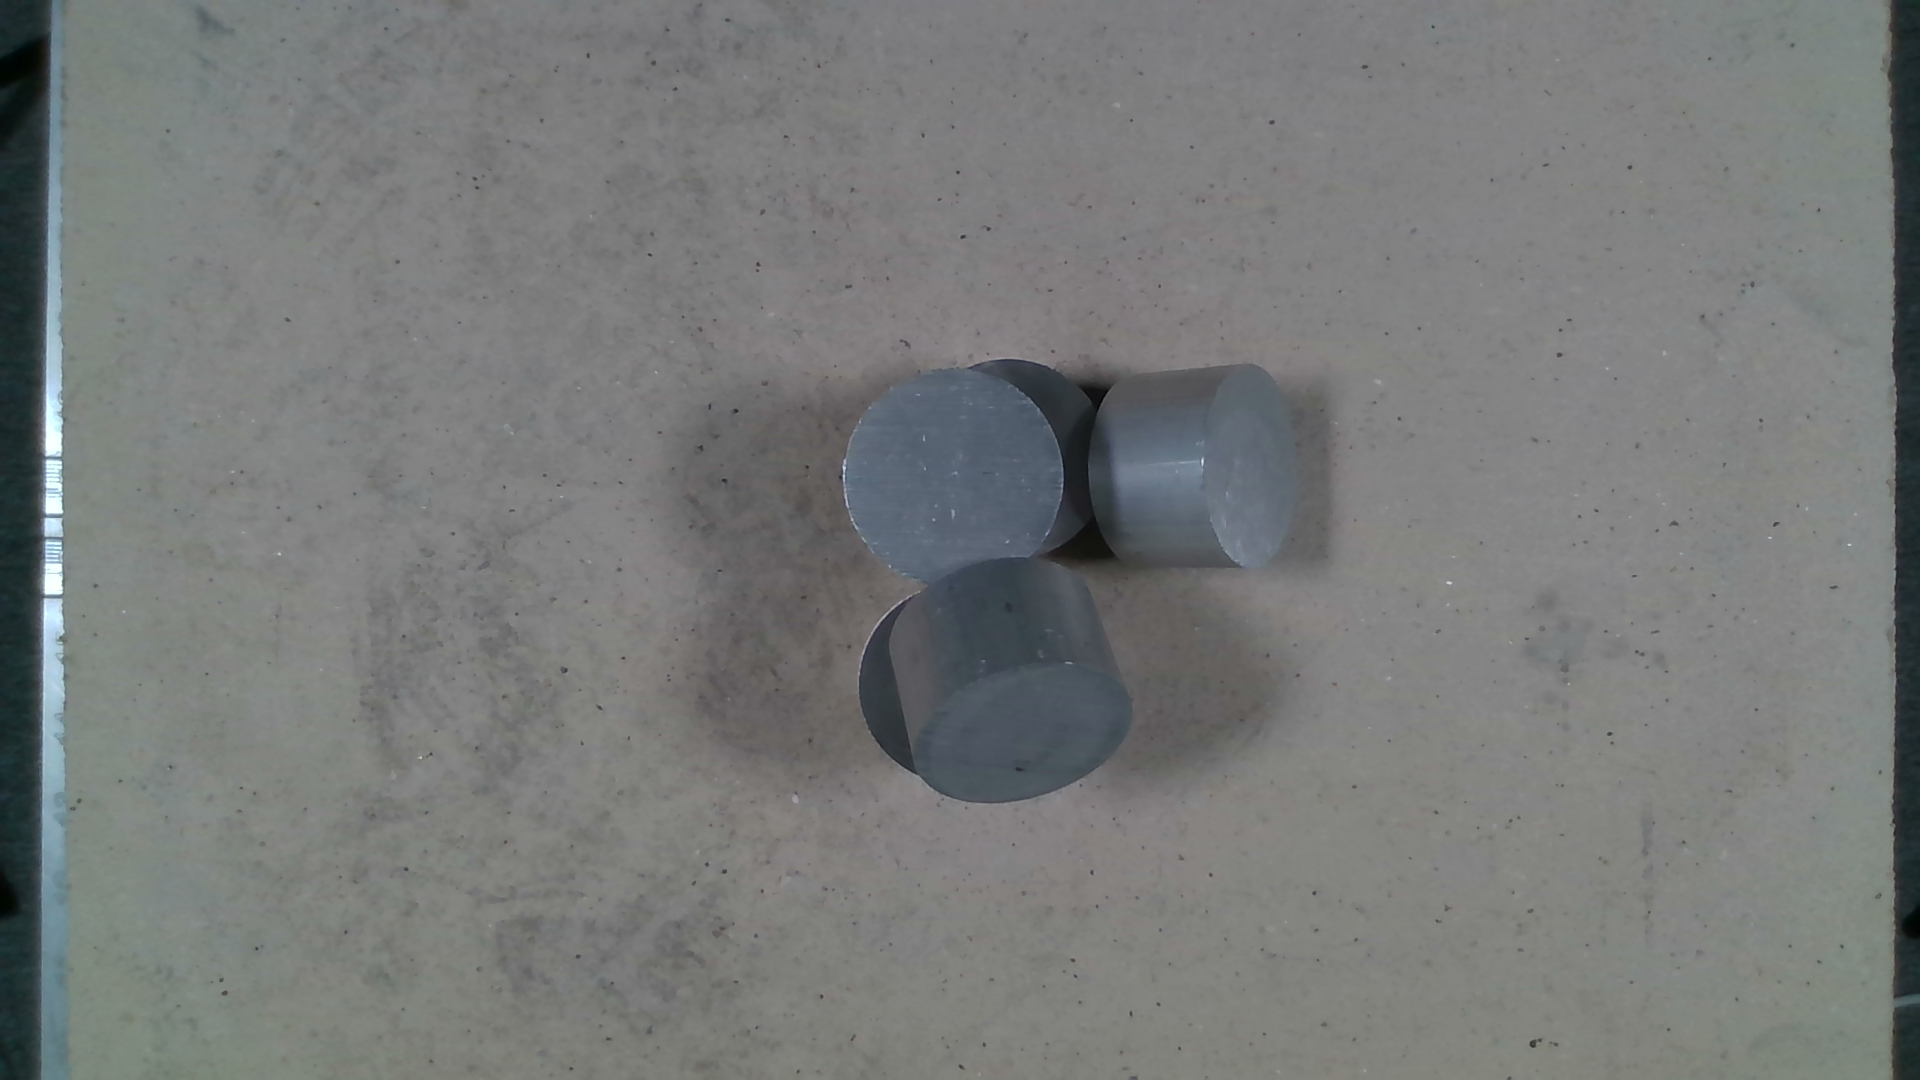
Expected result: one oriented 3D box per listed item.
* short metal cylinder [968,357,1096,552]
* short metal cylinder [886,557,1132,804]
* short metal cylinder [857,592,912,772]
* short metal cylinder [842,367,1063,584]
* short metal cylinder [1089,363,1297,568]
[{"bbox_3d":[0.019,-0.033,0.574,0.080,0.050,0.080,0,90,0],"label":"short metal cylinder"},{"bbox_3d":[0.017,0.052,0.503,0.080,0.080,0.050,-17,47,0],"label":"short metal cylinder"},{"bbox_3d":[-0.001,0.057,0.575,0.080,0.050,0.080,0,90,0],"label":"short metal cylinder"},{"bbox_3d":[-0.003,-0.023,0.524,0.080,0.050,0.080,0,90,0],"label":"short metal cylinder"},{"bbox_3d":[0.095,-0.029,0.553,0.050,0.080,0.080,0,90,39],"label":"short metal cylinder"}]
